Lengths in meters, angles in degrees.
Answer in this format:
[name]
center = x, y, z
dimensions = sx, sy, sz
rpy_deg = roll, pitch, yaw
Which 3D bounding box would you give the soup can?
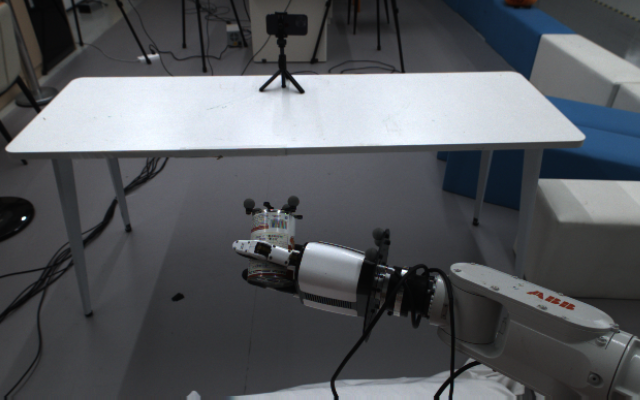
[soup can]
center = -0.069, 0.072, 0.710
dimensions = 0.067, 0.067, 0.101
rpy_deg = 1, 68, -1
